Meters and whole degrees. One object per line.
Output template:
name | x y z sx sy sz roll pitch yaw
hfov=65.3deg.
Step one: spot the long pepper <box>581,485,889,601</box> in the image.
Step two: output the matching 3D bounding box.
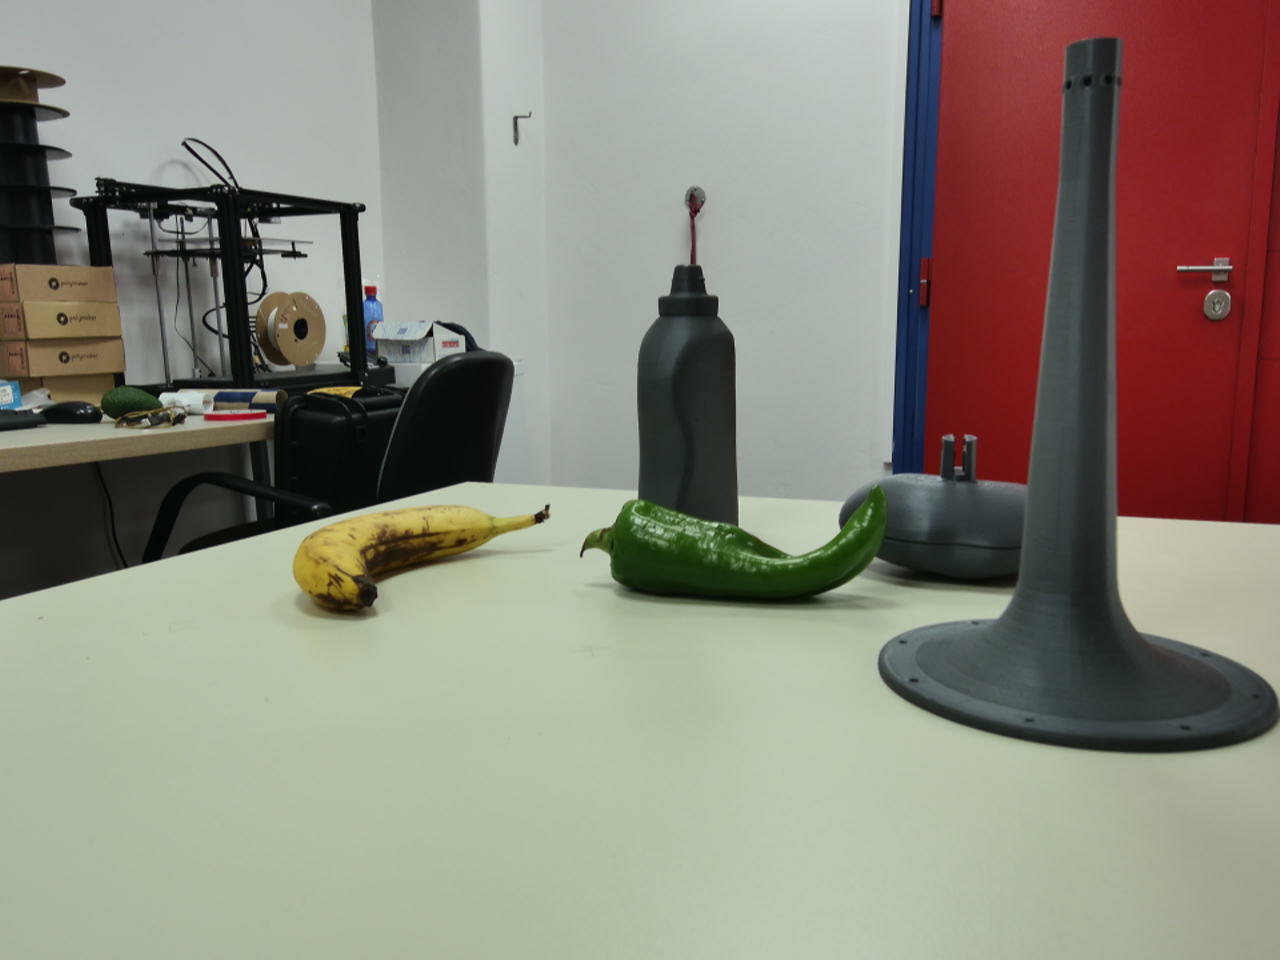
long pepper | 0.048 0.032 0.559 0.175 0.065 0.058 3 6 22
